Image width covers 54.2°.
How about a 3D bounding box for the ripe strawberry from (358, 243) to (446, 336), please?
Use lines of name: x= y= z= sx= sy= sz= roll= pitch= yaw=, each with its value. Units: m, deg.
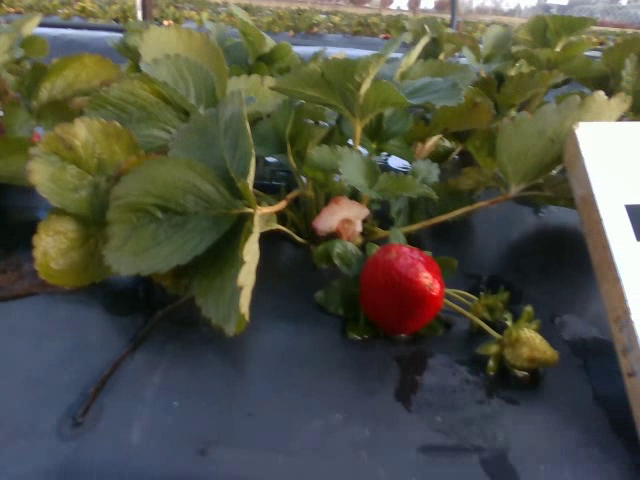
ripe strawberry: x=0.044 y=0.022 z=0.290 sx=0.043 sy=0.052 sz=0.057 roll=-24 pitch=-8 yaw=-8
